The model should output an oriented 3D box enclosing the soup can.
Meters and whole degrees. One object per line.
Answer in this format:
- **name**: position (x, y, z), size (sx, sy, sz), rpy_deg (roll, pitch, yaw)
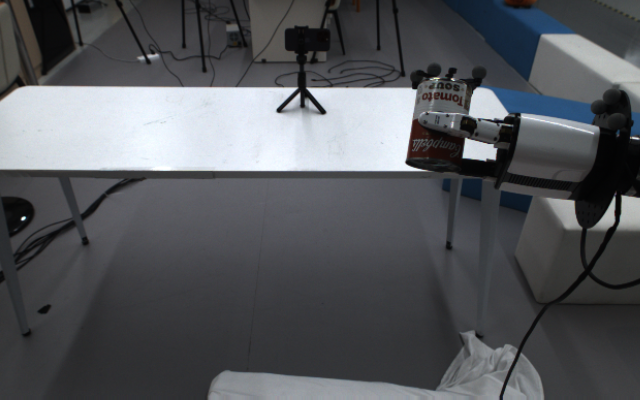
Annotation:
- **soup can**: position (0.147, -0.093, 0.597), size (0.067, 0.101, 0.067), rpy_deg (9, -5, 1)
